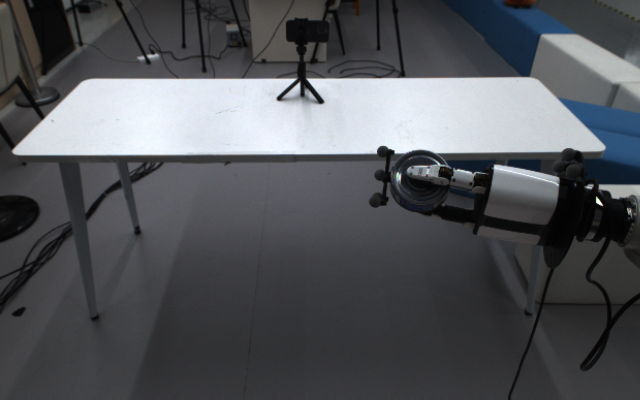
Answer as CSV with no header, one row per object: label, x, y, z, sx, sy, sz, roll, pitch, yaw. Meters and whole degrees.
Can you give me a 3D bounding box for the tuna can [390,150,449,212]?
tuna can,0.143,-0.031,0.690,0.085,0.034,0.085,-2,68,5
